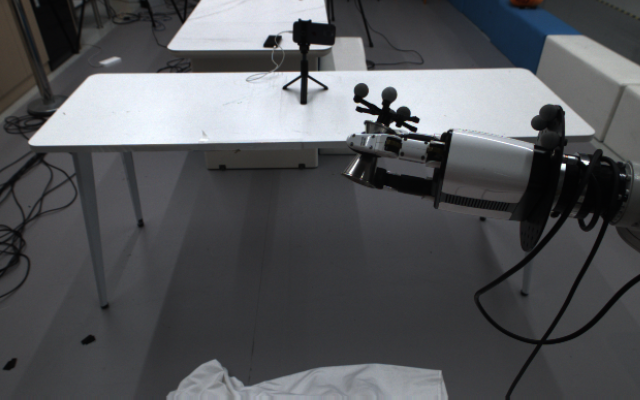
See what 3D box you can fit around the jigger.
[{"bbox_3d":[0.055,-0.055,0.559,0.043,0.071,0.043,25,-3,1],"label":"jigger"}]
